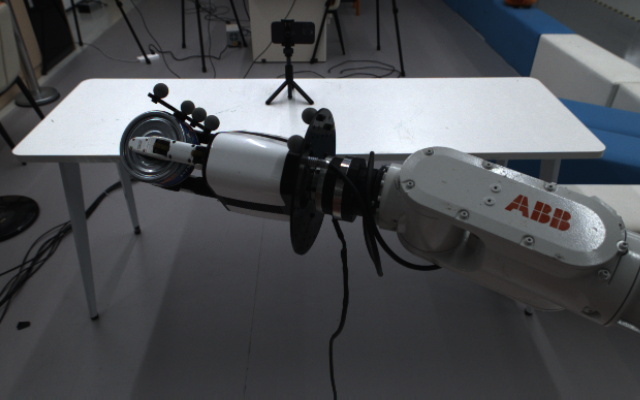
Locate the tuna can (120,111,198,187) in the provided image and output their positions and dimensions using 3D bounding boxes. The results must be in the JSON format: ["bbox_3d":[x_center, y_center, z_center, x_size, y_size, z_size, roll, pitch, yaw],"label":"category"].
[{"bbox_3d":[-0.186,-0.059,0.562,0.085,0.085,0.034,12,-4,14],"label":"tuna can"}]
